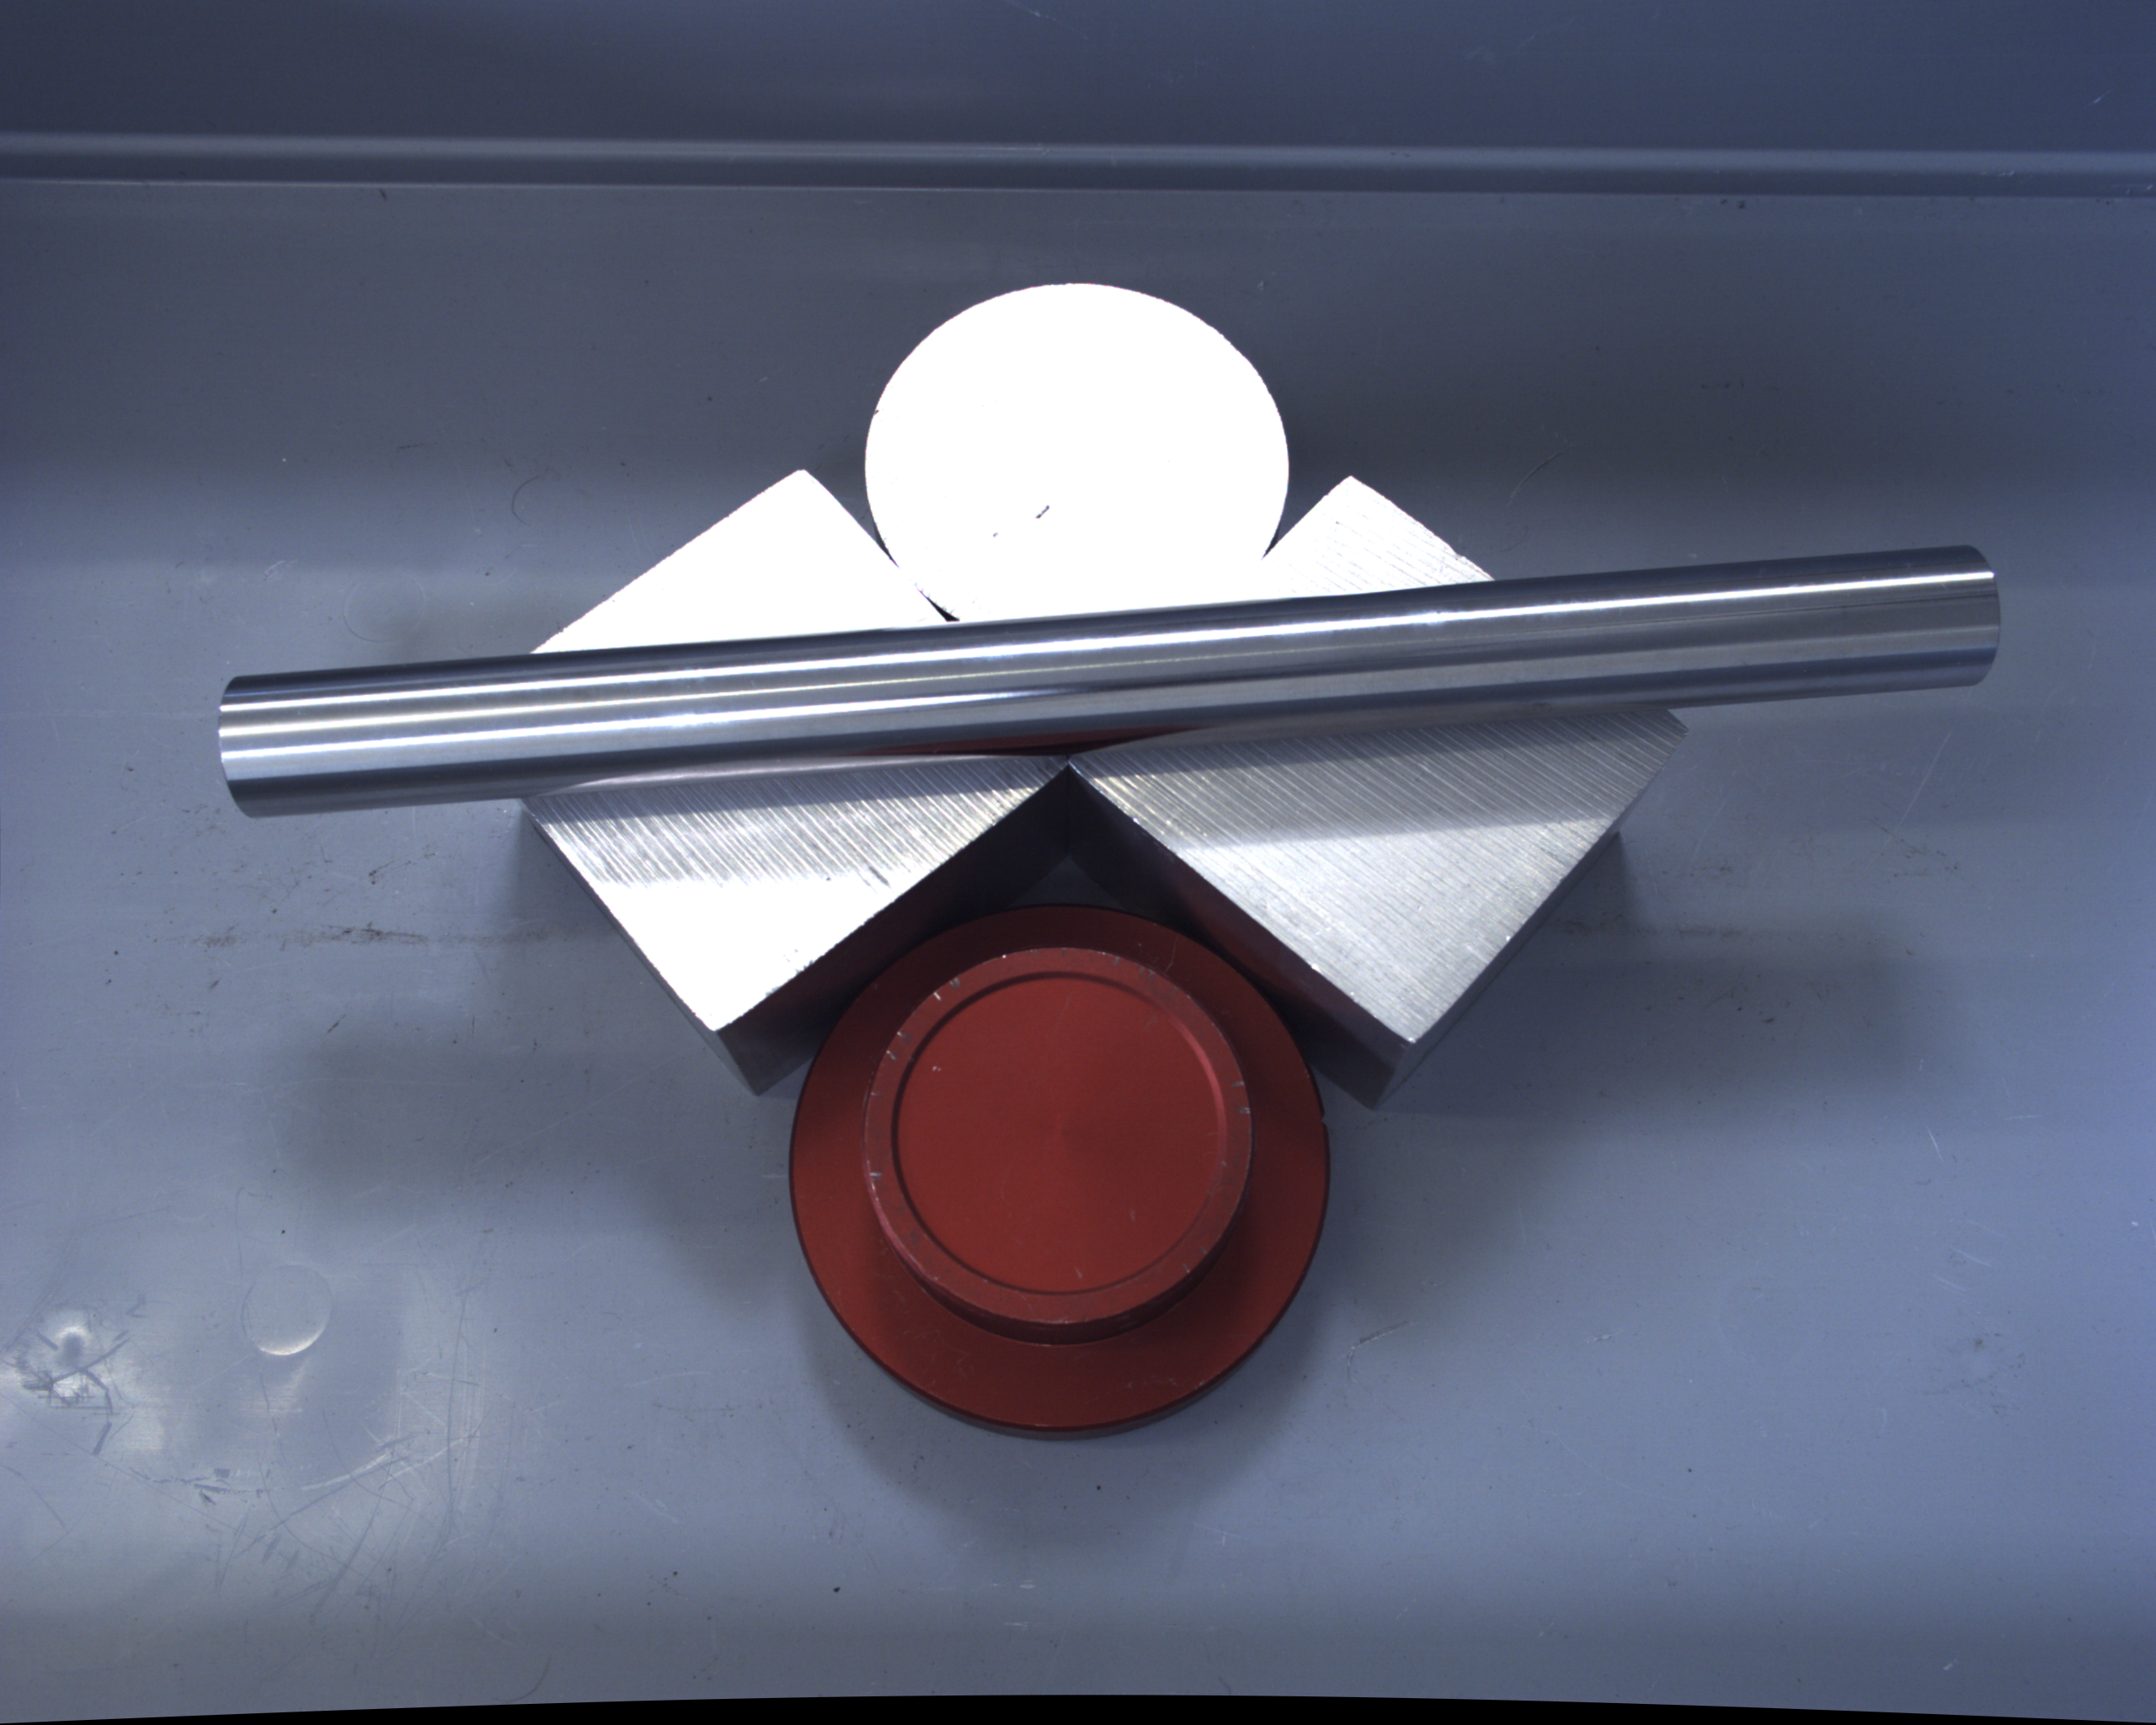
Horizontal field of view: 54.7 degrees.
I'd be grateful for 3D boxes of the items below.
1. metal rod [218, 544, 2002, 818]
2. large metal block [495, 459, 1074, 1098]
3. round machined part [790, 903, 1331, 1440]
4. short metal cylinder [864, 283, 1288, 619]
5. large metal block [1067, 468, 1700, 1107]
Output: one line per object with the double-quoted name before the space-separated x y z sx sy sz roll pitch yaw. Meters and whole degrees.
"metal rod" 0.007 -0.032 0.364 0.302 0.025 0.025 -5 70 -1
"large metal block" -0.058 -0.015 0.399 0.080 0.050 0.080 -38 76 -13
"round machined part" -0.003 0.053 0.379 0.099 0.042 0.098 0 70 0
"short metal cylinder" 0.000 -0.068 0.419 0.081 0.050 0.080 0 70 0
"large metal block" 0.055 -0.013 0.397 0.080 0.050 0.080 40 76 13
